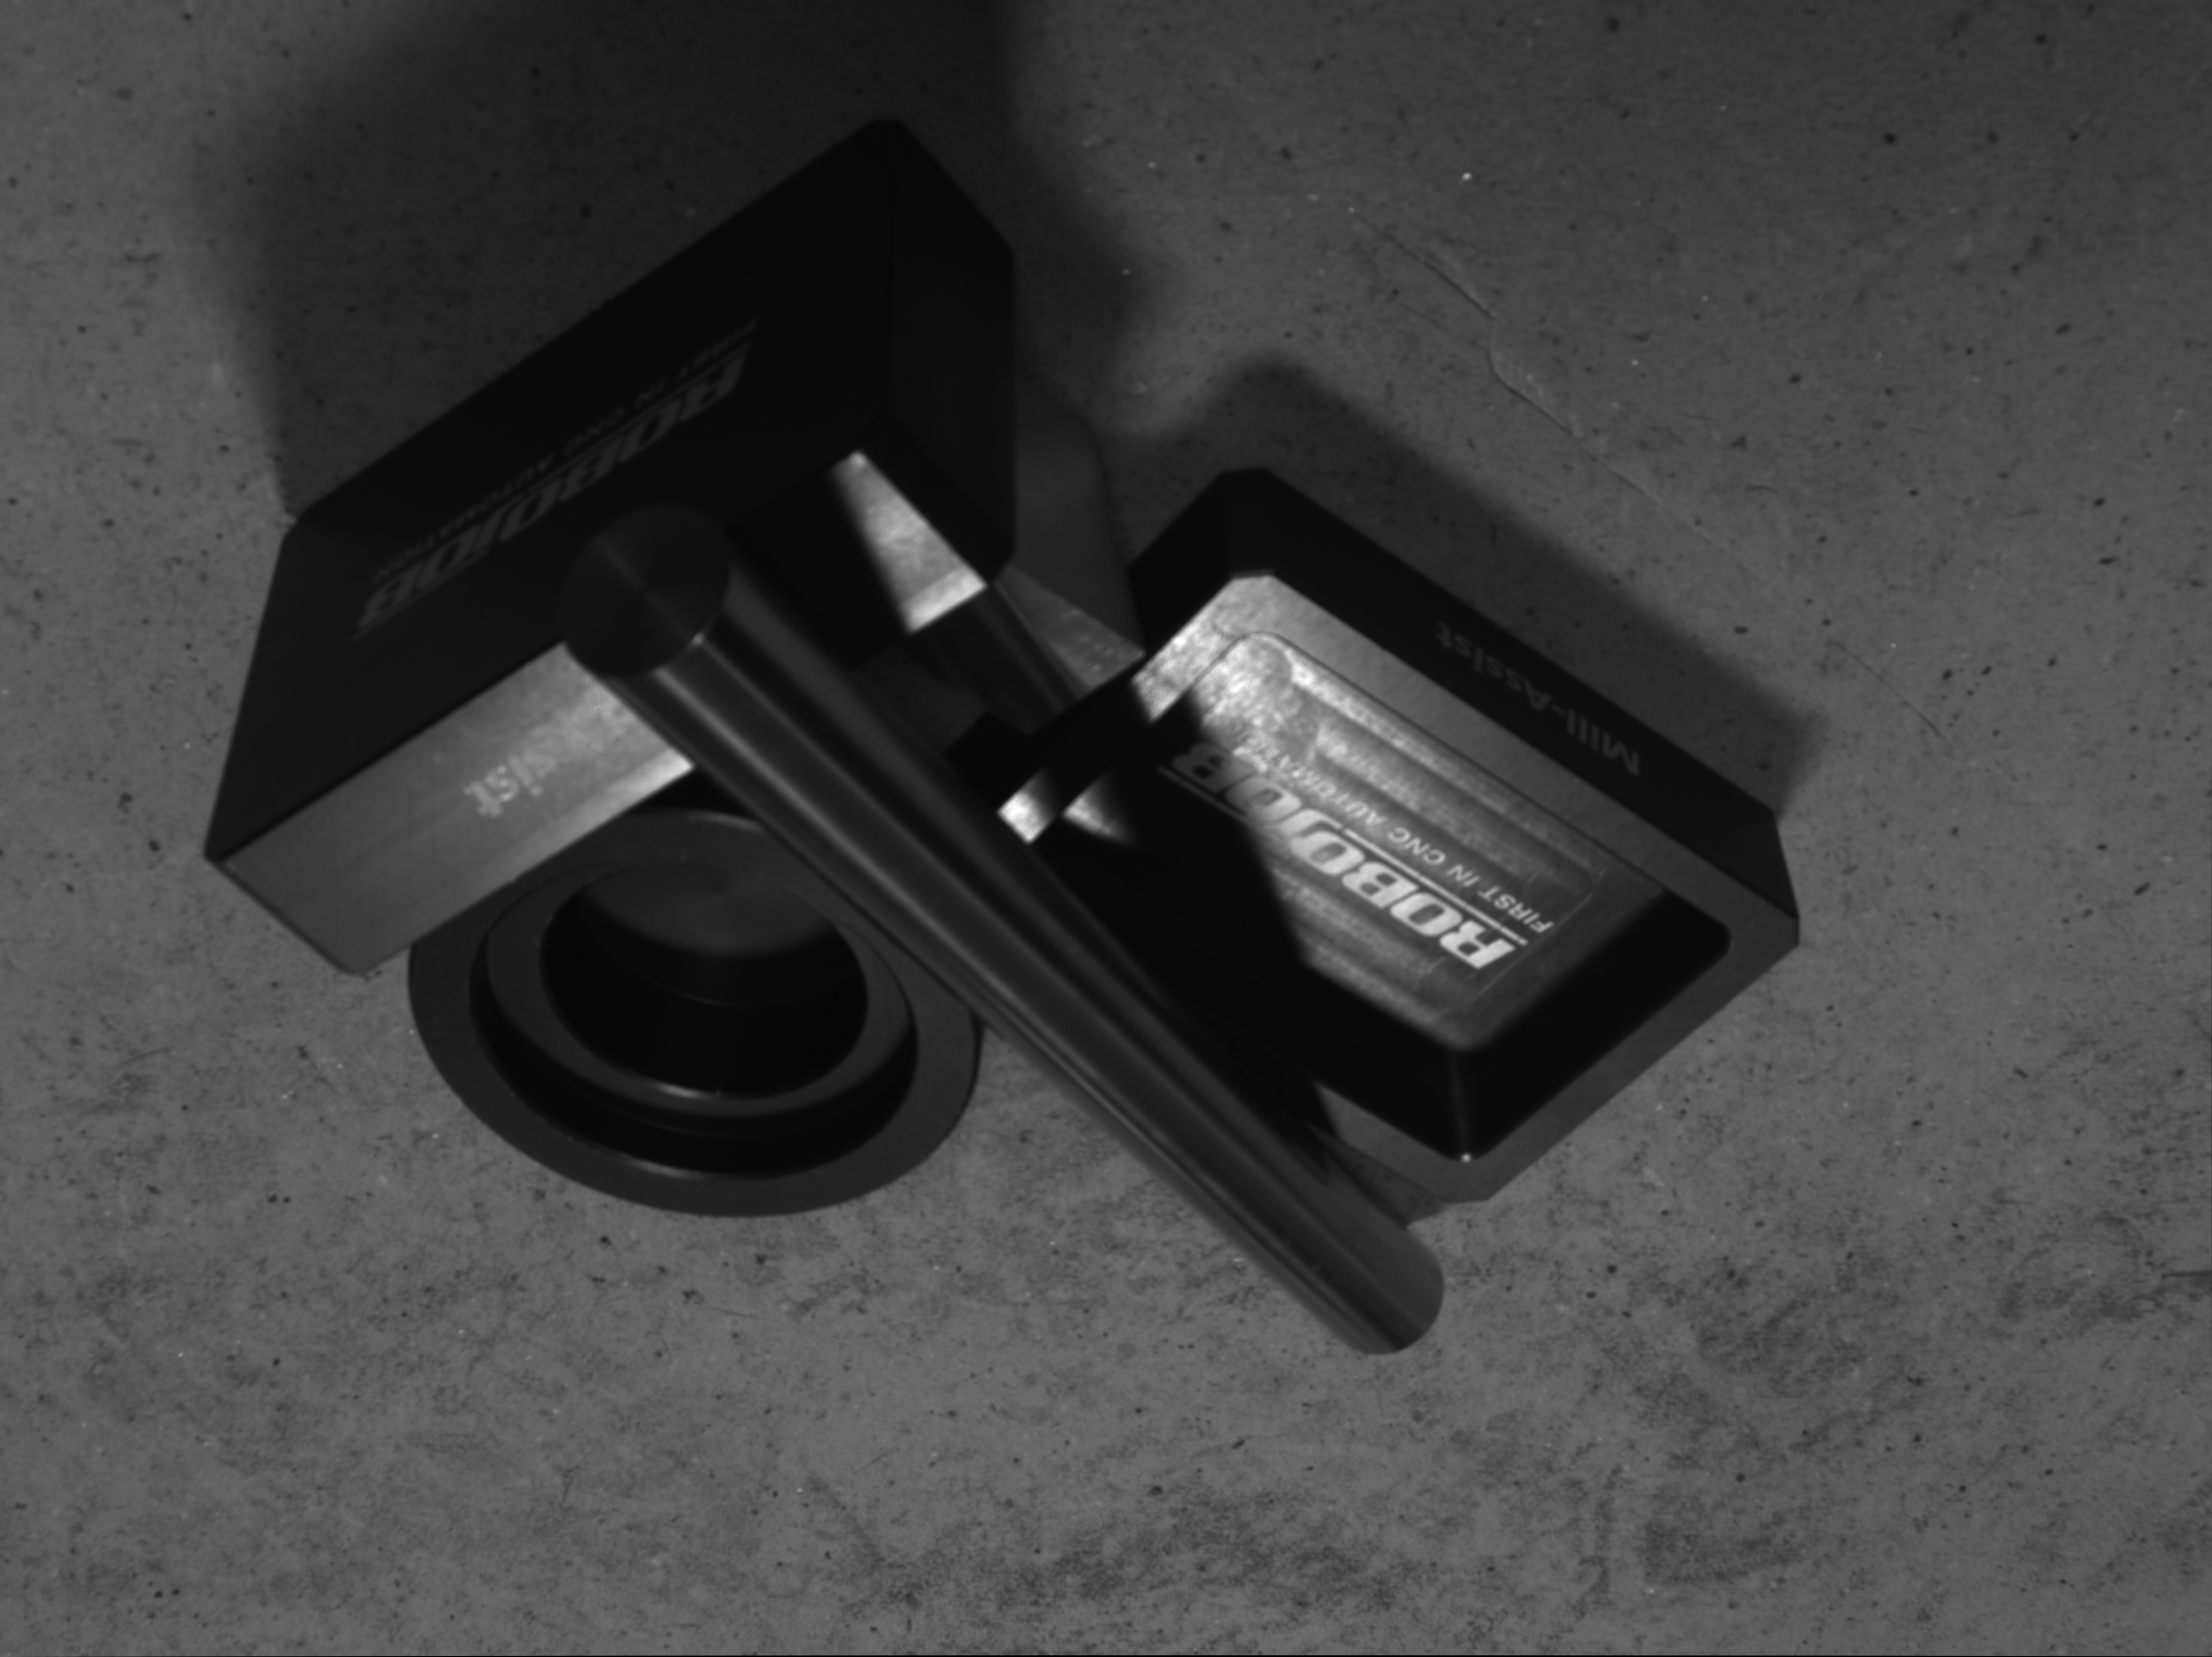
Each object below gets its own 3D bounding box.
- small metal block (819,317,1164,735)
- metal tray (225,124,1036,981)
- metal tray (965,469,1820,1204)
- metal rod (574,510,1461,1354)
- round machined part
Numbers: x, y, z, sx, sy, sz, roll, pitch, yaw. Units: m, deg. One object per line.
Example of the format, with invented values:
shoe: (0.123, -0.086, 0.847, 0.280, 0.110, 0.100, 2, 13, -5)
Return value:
small metal block: (-0.020, -0.050, 0.573, 0.025, 0.050, 0.050, -33, 138, 26)
metal tray: (-0.071, -0.043, 0.557, 0.130, 0.090, 0.030, -30, 124, 22)
metal tray: (0.048, 0.005, 0.641, 0.130, 0.030, 0.090, 31, 122, -25)
metal rod: (0.000, 0.031, 0.595, 0.025, 0.025, 0.301, -20, 149, 15)
round machined part: (-0.065, 0.020, 0.637, 0.098, 0.042, 0.098, 3, 133, 4)
